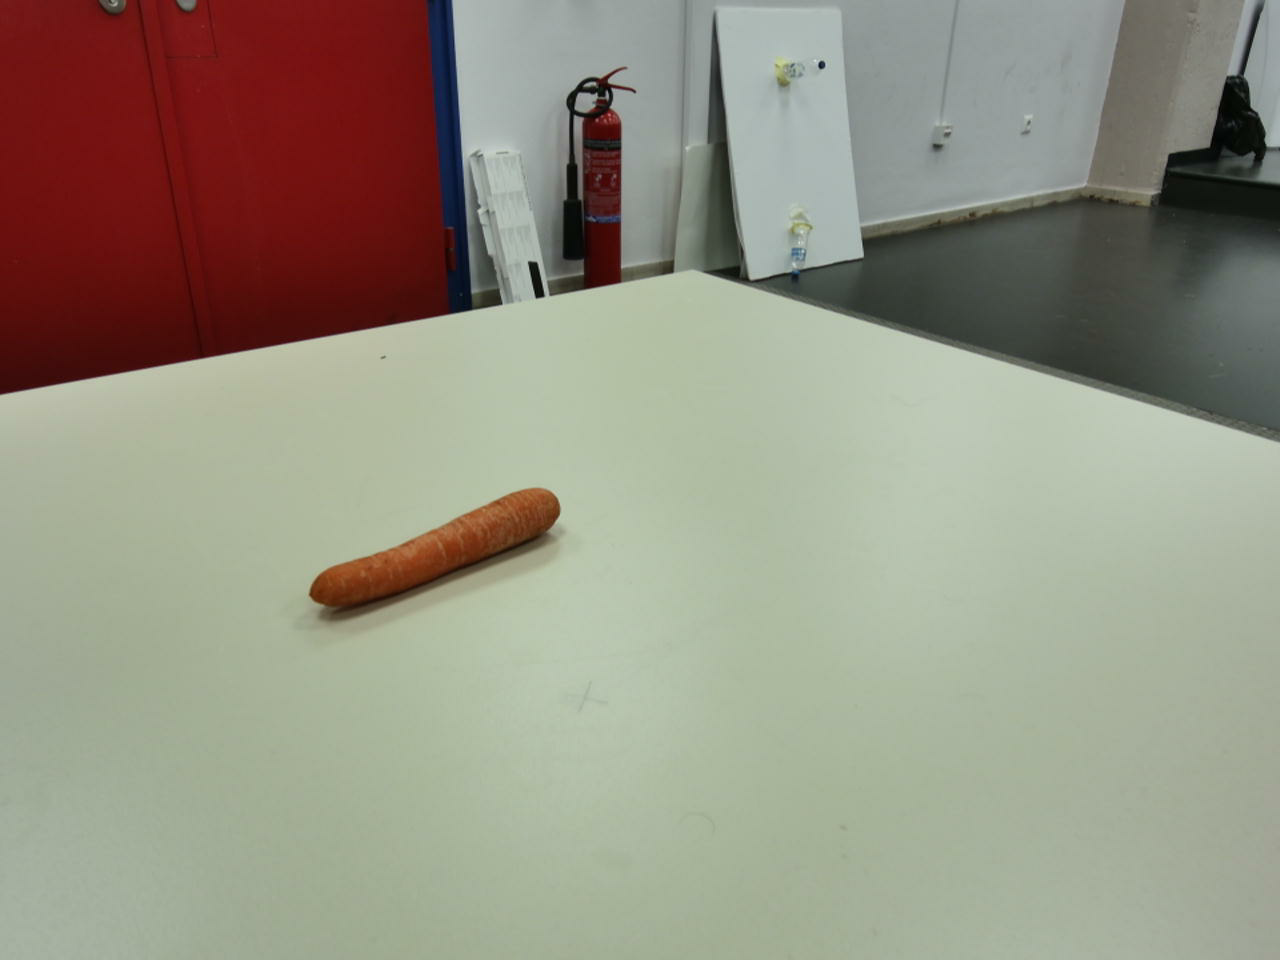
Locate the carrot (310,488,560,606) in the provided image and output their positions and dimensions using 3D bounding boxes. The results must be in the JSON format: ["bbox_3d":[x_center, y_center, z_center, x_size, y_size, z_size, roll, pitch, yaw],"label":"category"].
[{"bbox_3d":[-0.085,0.028,0.433,0.122,0.023,0.024,-19,30,-38],"label":"carrot"}]
